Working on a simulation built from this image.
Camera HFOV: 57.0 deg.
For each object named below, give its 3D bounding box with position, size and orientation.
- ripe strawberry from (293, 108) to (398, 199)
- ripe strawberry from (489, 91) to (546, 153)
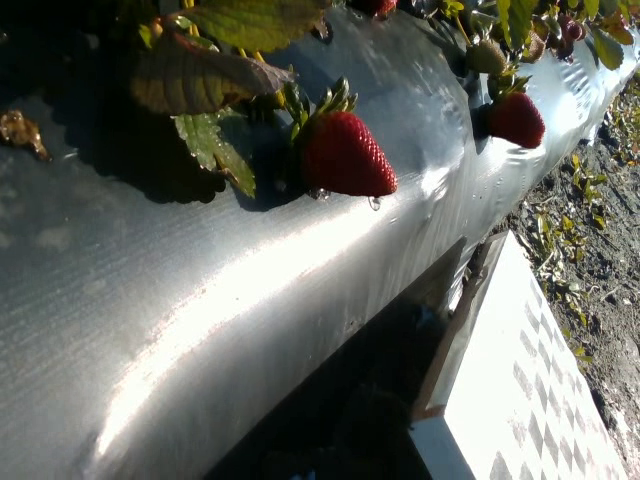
[{"bbox_3d":[0.015,-0.036,0.264,0.055,0.042,0.045,38,21,13],"label":"ripe strawberry"},{"bbox_3d":[0.161,-0.095,0.479,0.042,0.059,0.042,-34,-19,22],"label":"ripe strawberry"}]
